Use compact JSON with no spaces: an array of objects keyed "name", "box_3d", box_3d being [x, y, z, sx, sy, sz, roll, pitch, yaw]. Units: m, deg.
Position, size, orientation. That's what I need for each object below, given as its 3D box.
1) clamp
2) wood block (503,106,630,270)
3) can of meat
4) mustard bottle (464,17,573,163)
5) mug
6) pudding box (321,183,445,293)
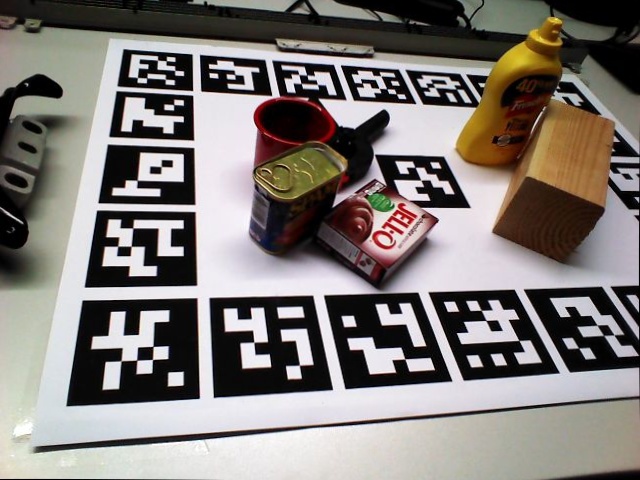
[{"name":"clamp","box_3d":[0.039,-0.131,0.669,0.122,0.037,0.164,15,49,-1]},{"name":"wood block","box_3d":[0.308,-0.072,0.640,0.090,0.091,0.204,26,46,13]},{"name":"can of meat","box_3d":[-0.024,-0.041,0.530,0.101,0.084,0.058,-27,61,-31]},{"name":"mustard bottle","box_3d":[0.261,-0.186,0.656,0.096,0.192,0.058,-4,51,-16]},{"name":"mug","box_3d":[-0.034,-0.104,0.623,0.093,0.082,0.116,17,49,2]},{"name":"pudding box","box_3d":[0.070,-0.007,0.559,0.090,0.039,0.113,38,50,20]}]
